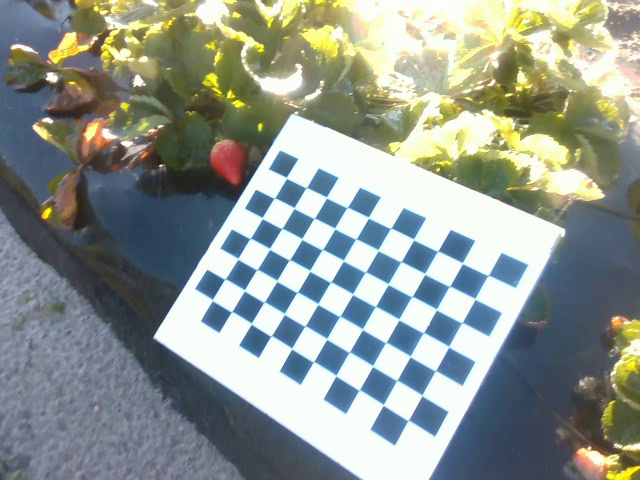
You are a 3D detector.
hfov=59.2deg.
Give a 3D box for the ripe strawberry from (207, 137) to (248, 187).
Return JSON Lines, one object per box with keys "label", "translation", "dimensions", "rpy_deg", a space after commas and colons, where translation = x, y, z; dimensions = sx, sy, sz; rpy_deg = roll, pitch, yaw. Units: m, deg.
{"label": "ripe strawberry", "translation": [-0.111, -0.091, 0.652], "dimensions": [0.040, 0.065, 0.040], "rpy_deg": [-21, -21, 5]}
